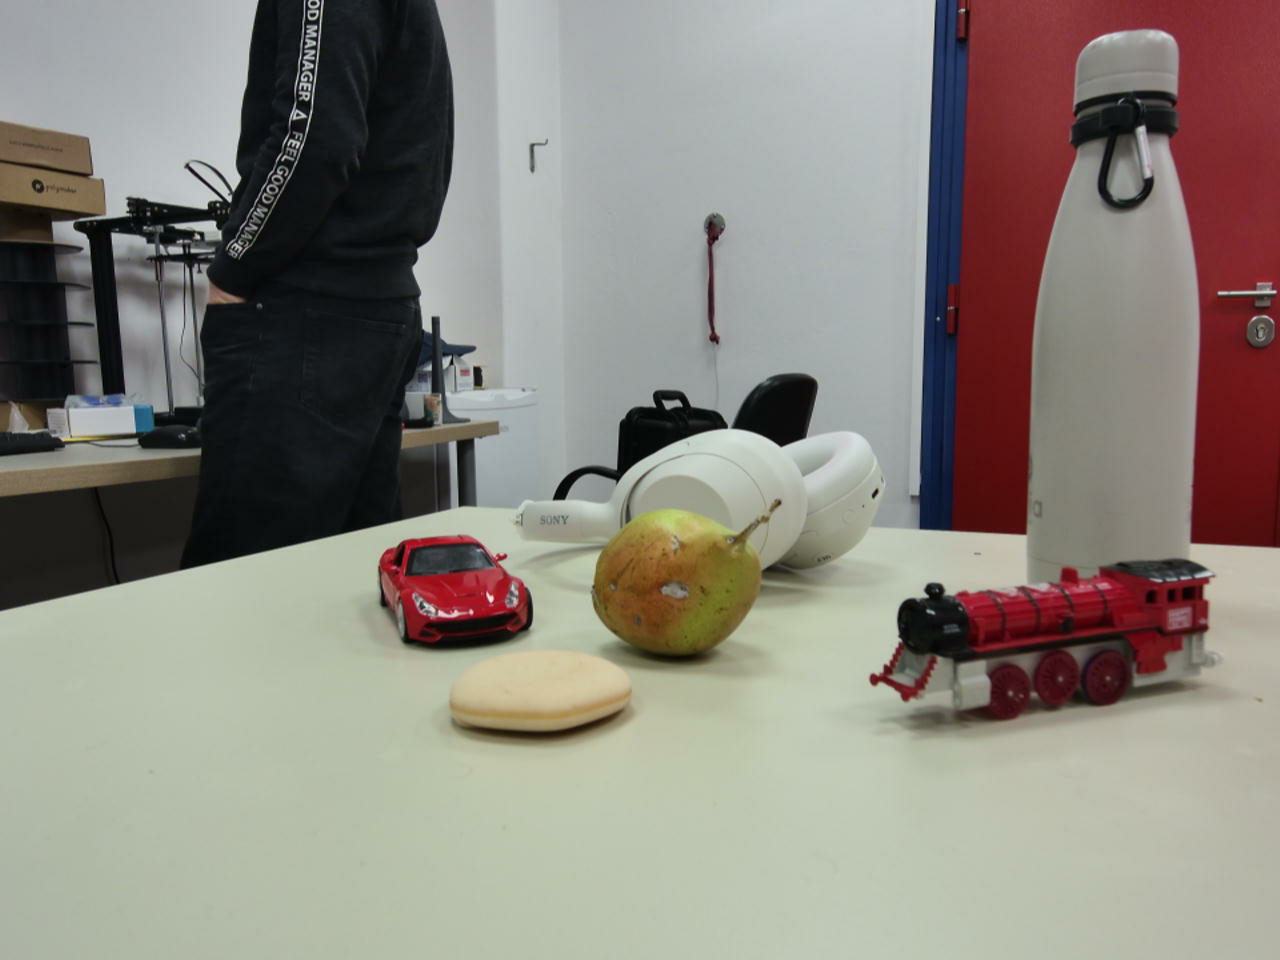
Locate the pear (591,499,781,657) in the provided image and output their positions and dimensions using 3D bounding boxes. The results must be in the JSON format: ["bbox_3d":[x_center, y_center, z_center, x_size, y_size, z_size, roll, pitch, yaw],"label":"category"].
[{"bbox_3d":[0.015,0.041,0.431,0.068,0.069,0.070,0,4,-14],"label":"pear"}]
